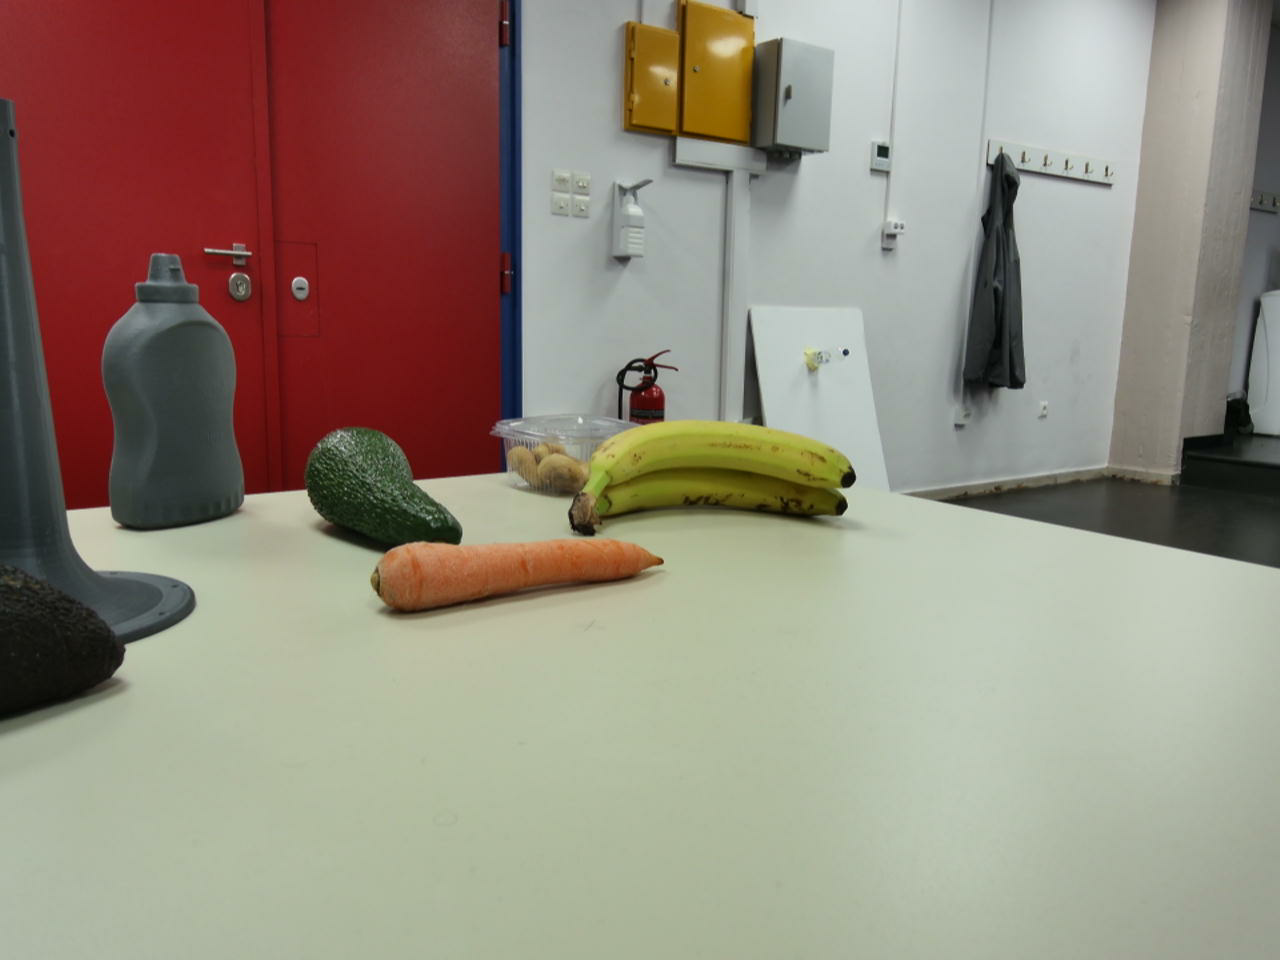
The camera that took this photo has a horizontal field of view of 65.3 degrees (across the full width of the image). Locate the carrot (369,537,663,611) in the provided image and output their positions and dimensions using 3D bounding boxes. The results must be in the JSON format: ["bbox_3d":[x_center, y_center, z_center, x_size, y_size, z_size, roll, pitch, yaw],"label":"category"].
[{"bbox_3d":[-0.067,0.050,0.610,0.196,0.041,0.039,-6,10,-35],"label":"carrot"}]
